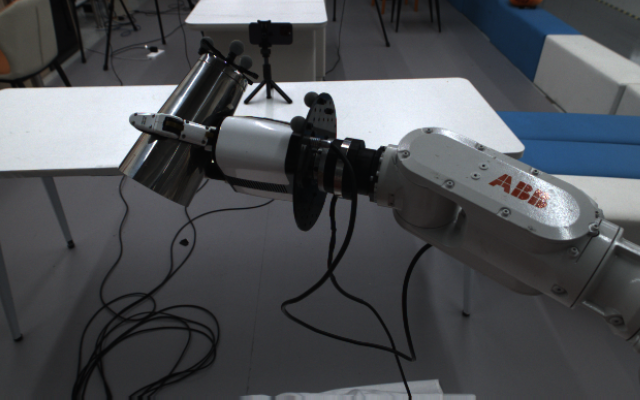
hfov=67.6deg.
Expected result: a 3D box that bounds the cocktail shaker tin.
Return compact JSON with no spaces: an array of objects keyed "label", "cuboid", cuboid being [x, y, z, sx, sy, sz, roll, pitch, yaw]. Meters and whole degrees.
[{"label":"cocktail shaker tin","cuboid":[-0.158,-0.091,0.588,0.093,0.093,0.170,26,83,31]}]
